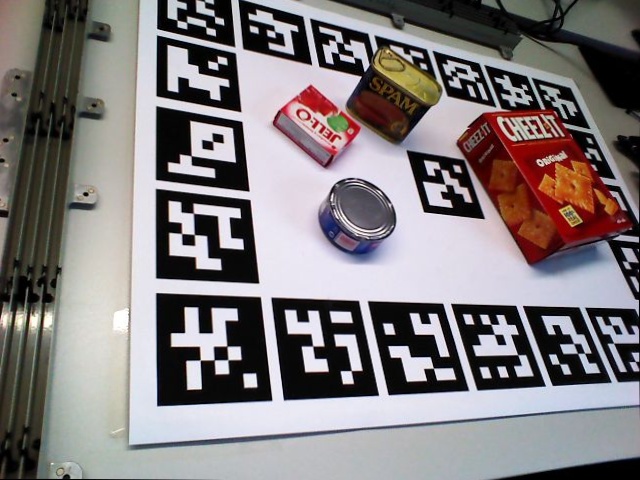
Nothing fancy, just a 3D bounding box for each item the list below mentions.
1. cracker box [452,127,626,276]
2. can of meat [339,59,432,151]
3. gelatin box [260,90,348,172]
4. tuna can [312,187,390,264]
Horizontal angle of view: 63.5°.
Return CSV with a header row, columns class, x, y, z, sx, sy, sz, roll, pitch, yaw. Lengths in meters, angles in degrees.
class,x,y,z,sx,sy,sz,roll,pitch,yaw
cracker box,0.319,-0.068,0.753,0.163,0.072,0.213,-11,64,-33
can of meat,0.085,-0.179,0.704,0.102,0.084,0.057,30,51,-5
gelatin box,-0.018,-0.139,0.652,0.089,0.030,0.073,41,48,-1
tuna can,0.034,-0.016,0.593,0.085,0.034,0.085,11,59,-19
